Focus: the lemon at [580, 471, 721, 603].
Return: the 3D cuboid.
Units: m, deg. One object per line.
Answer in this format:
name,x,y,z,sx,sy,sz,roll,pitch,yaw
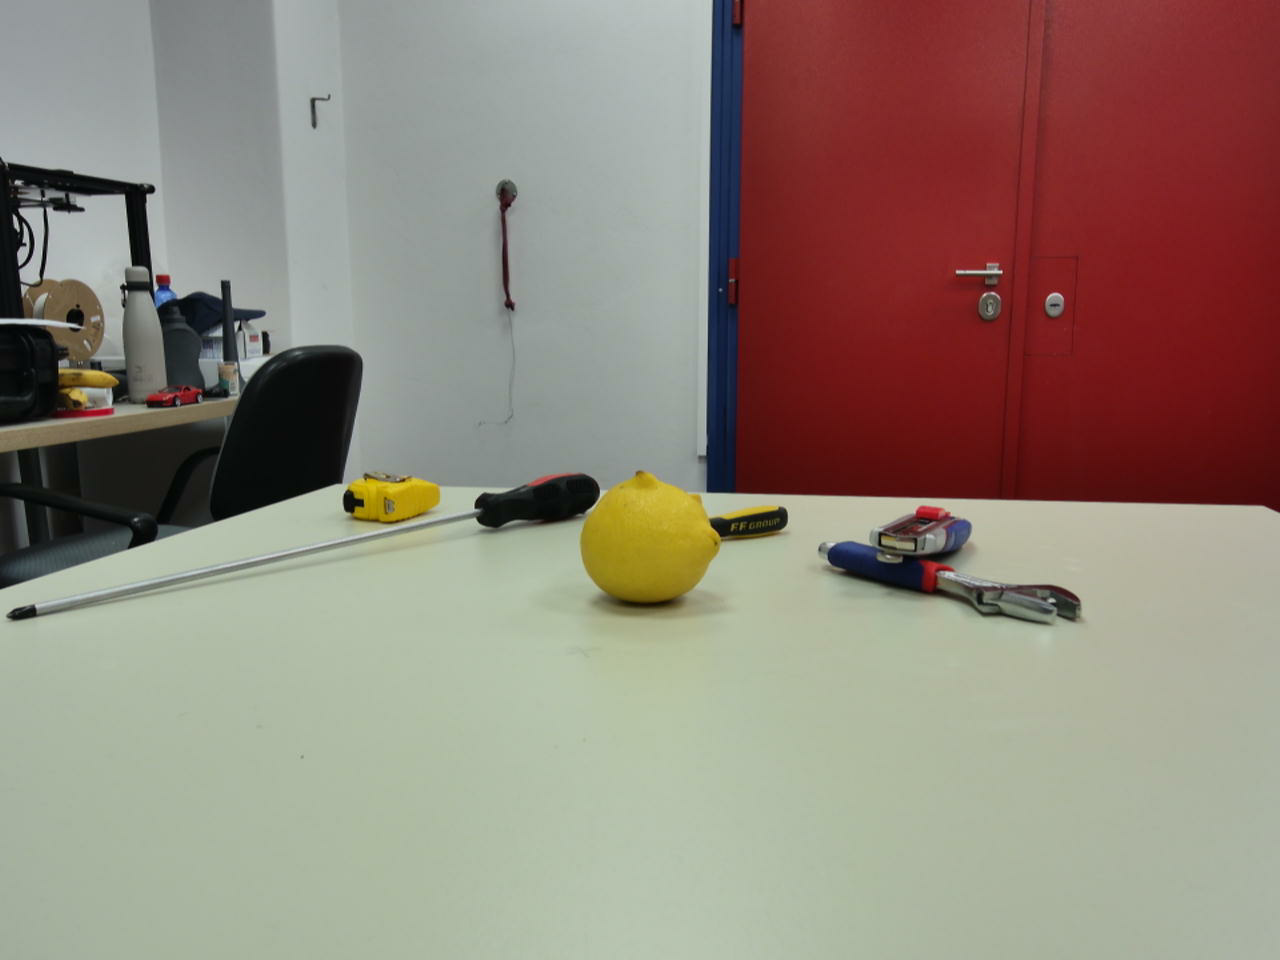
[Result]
lemon,0.004,0.031,0.543,0.070,0.071,0.071,-3,7,-22
